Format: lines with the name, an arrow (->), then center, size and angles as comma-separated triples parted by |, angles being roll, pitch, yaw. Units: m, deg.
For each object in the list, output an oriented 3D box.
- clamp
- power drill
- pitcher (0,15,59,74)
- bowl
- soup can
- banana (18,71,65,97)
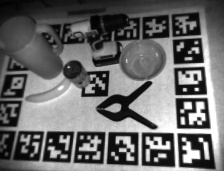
clamp -> 0.019, 0.054, 0.728 | 0.202, 0.037, 0.165 | -4, 75, 11
power drill -> -0.038, -0.177, 0.724 | 0.184, 0.188, 0.057 | -6, 70, 10
pitcher -> -0.274, -0.140, 0.751 | 0.188, 0.245, 0.132 | -25, 65, 4
bowl -> 0.084, -0.098, 0.762 | 0.161, 0.055, 0.161 | -3, 73, 11
soup can -> -0.143, -0.062, 0.775 | 0.067, 0.103, 0.067 | -5, 62, 11
banana -> -0.259, 0.000, 0.814 | 0.197, 0.039, 0.073 | -25, 60, 1
